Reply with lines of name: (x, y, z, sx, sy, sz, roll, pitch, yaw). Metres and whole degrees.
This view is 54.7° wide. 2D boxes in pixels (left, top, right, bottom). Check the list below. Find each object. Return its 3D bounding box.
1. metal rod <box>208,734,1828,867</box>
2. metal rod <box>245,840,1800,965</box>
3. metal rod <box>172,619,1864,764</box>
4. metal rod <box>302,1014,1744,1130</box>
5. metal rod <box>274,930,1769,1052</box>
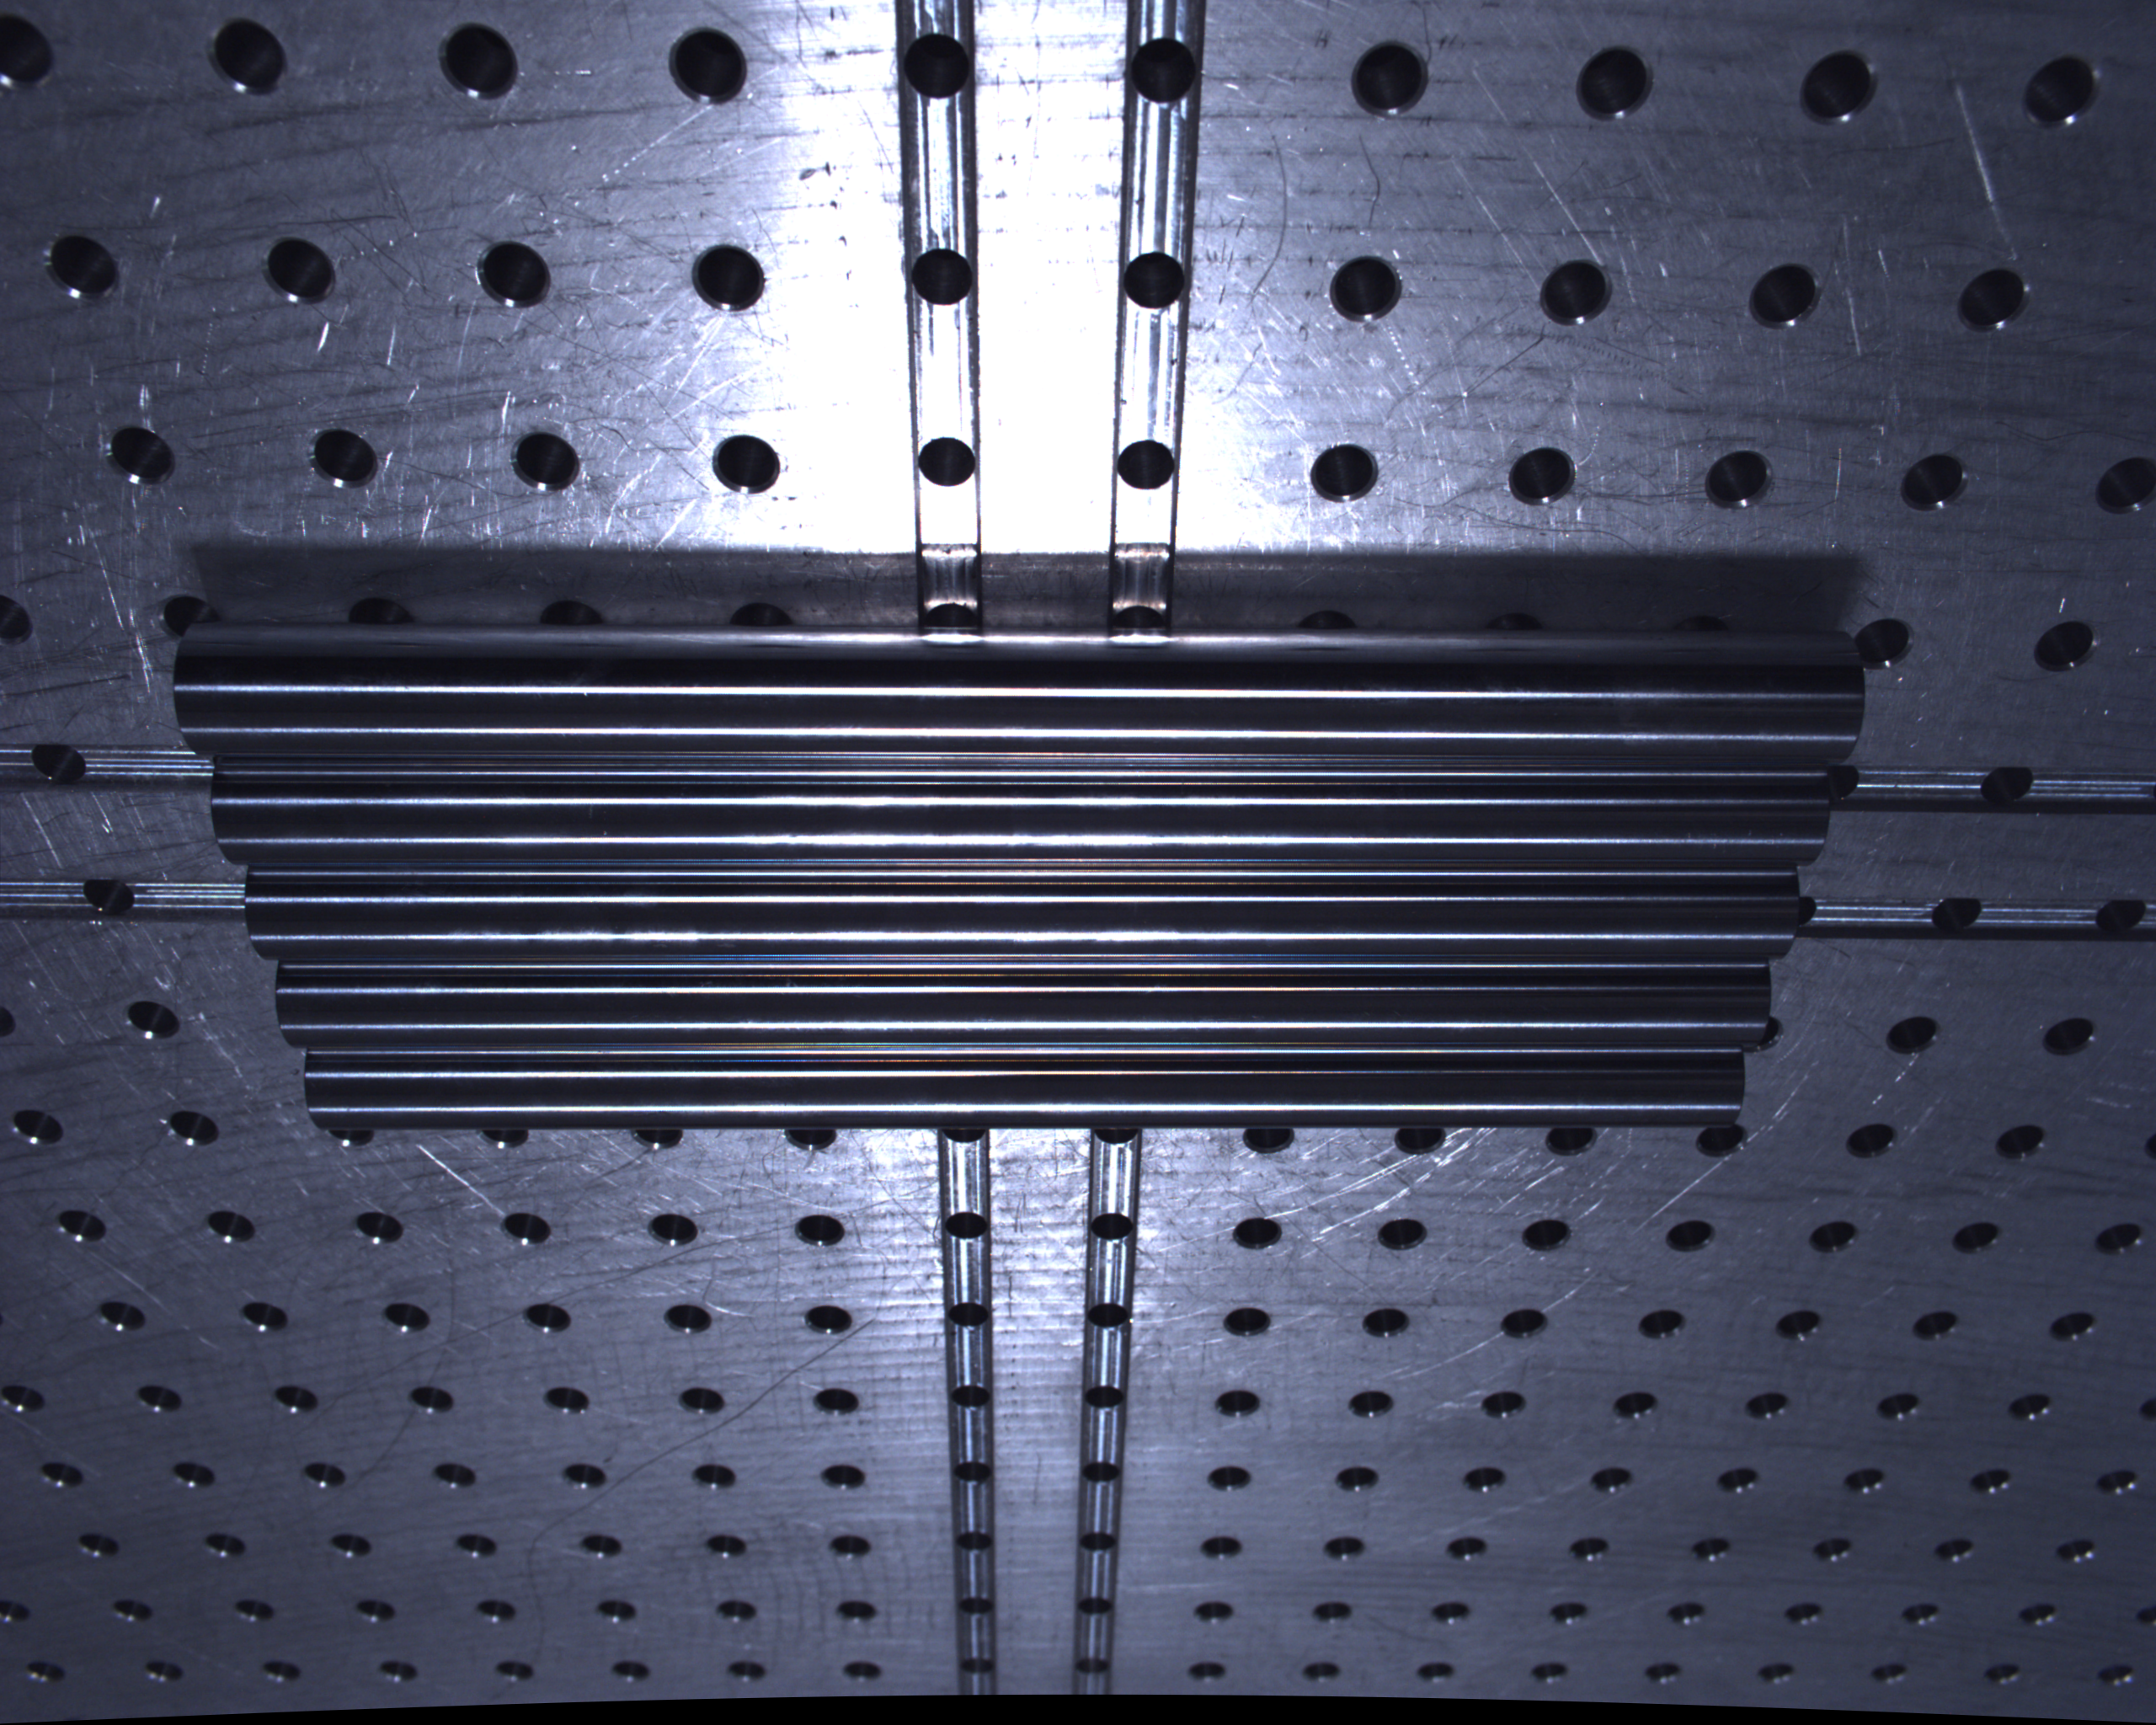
metal rod: (-0.010, -0.012, 0.401, 0.302, 0.025, 0.025, 0, 130, -1)
metal rod: (-0.010, 0.007, 0.418, 0.302, 0.025, 0.025, 0, 130, -1)
metal rod: (-0.010, -0.031, 0.385, 0.302, 0.025, 0.025, 0, 130, -1)
metal rod: (-0.011, 0.045, 0.449, 0.302, 0.025, 0.025, 0, 130, -1)
metal rod: (-0.011, 0.026, 0.434, 0.302, 0.025, 0.025, 0, 130, -1)
